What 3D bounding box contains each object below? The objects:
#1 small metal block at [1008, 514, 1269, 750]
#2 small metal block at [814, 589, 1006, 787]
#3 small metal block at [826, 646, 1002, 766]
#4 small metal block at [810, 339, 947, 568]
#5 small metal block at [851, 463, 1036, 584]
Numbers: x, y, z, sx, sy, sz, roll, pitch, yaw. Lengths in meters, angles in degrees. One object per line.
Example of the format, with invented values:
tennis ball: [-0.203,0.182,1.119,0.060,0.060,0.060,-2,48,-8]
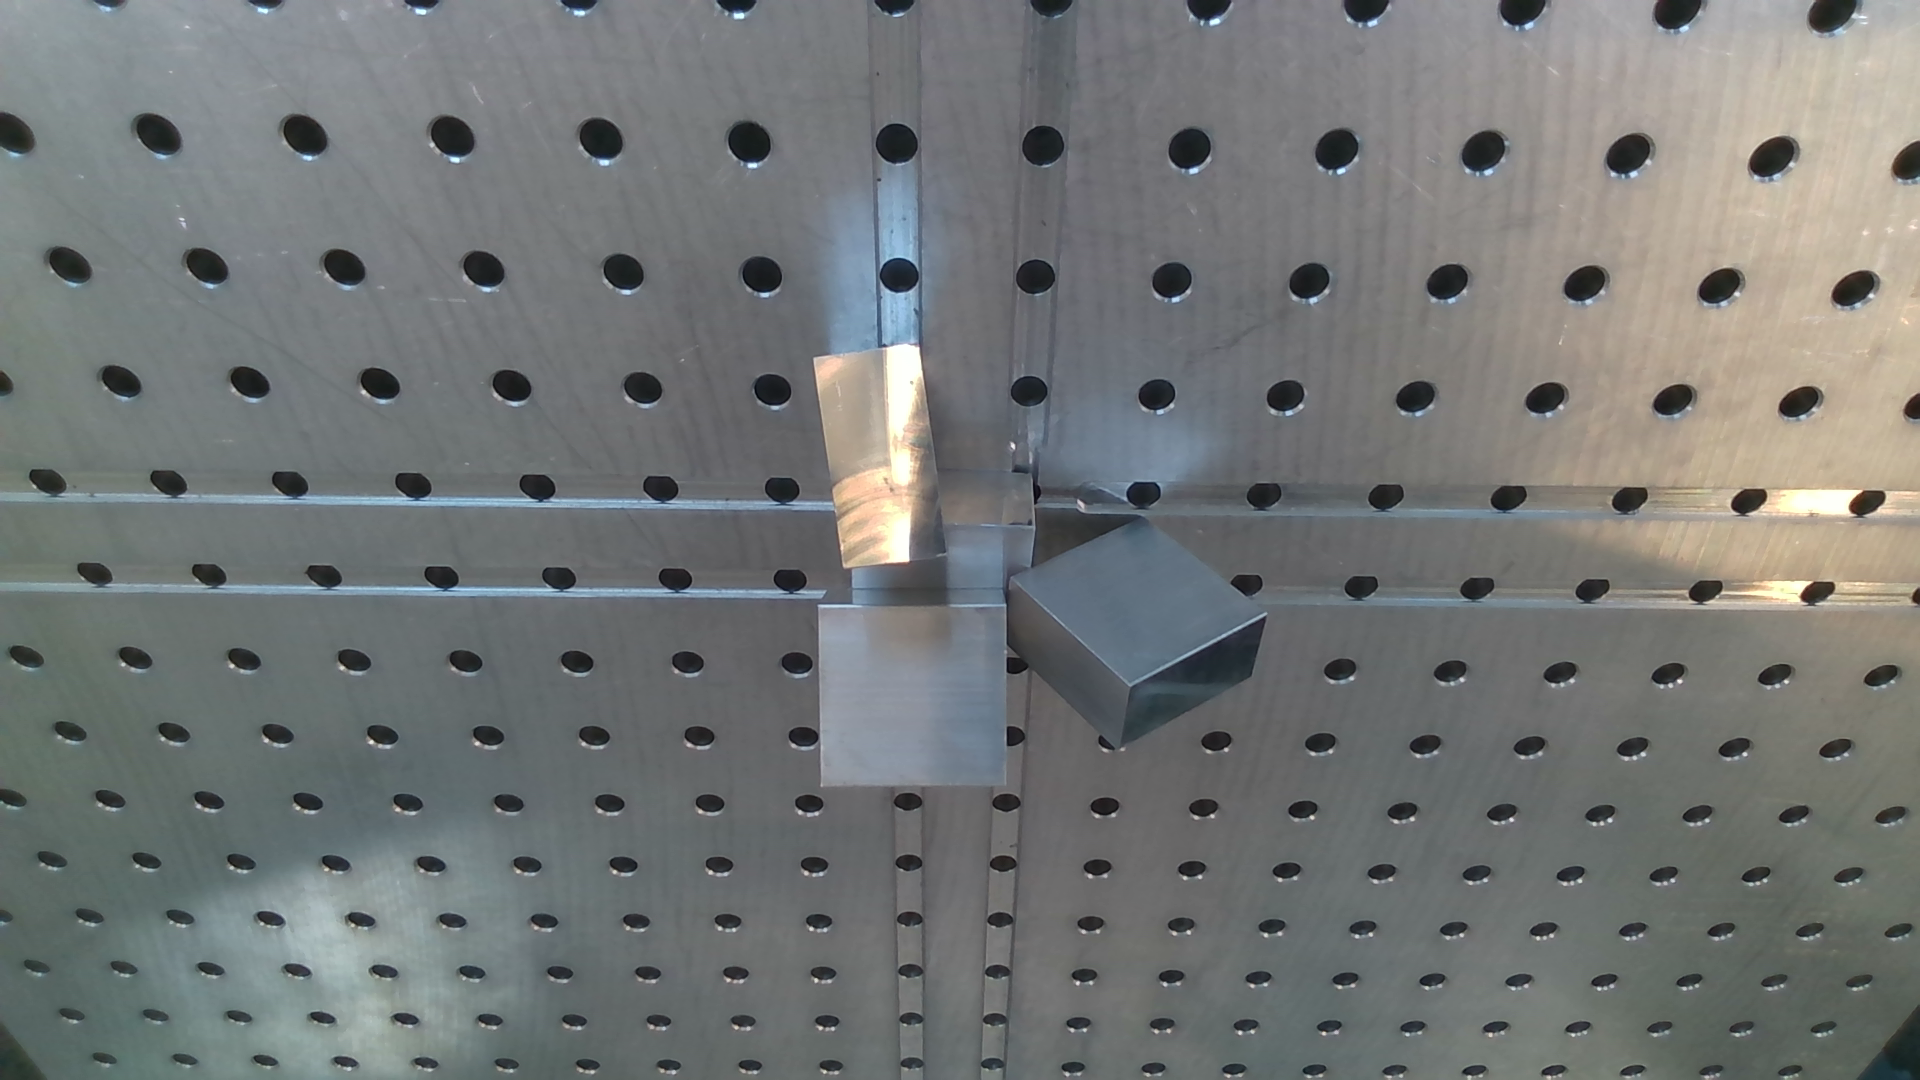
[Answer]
small metal block: [0.048,0.024,0.382,0.050,0.050,0.025,-23,136,-29]
small metal block: [-0.013,0.039,0.376,0.050,0.025,0.050,0,97,0]
small metal block: [-0.014,0.052,0.420,0.050,0.025,0.050,2,161,-2]
small metal block: [-0.019,-0.022,0.343,0.025,0.050,0.050,-8,95,-1]
small metal block: [-0.006,0.006,0.396,0.050,0.025,0.050,2,130,-2]
